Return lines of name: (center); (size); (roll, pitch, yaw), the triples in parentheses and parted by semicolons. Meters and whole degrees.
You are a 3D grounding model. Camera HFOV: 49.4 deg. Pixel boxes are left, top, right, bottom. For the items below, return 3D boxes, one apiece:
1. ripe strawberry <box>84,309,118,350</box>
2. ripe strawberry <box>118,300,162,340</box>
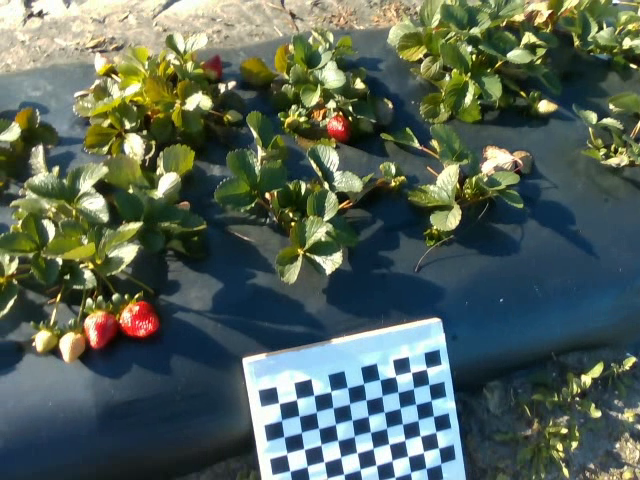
ripe strawberry: (-0.280, 0.116, 0.869); (0.050, 0.044, 0.061); (16, 38, -18)
ripe strawberry: (-0.228, 0.105, 0.881); (0.067, 0.057, 0.051); (20, -14, 39)
